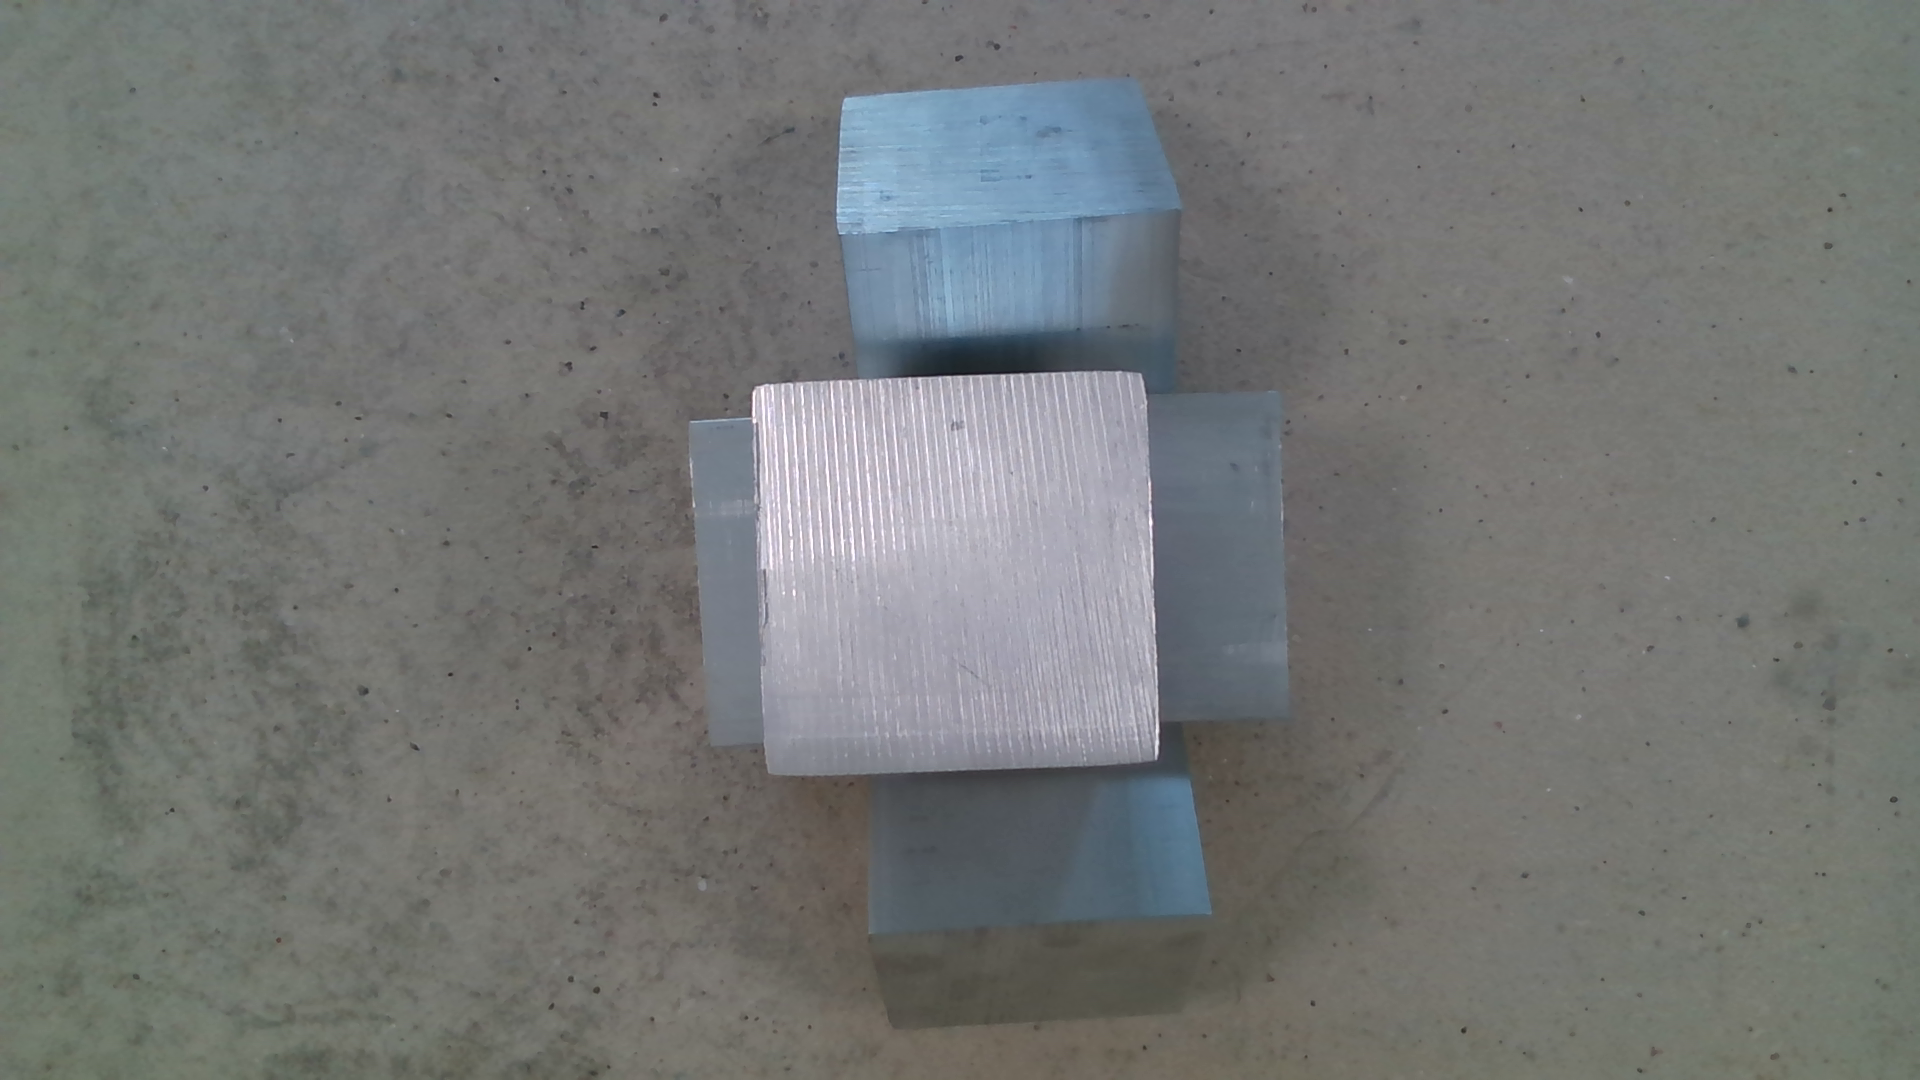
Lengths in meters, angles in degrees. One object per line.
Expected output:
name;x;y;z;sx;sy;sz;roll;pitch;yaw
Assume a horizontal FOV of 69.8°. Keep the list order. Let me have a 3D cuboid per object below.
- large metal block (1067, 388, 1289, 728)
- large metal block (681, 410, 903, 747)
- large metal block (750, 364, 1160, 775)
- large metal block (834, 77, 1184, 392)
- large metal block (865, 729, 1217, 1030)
large metal block;0.052;0.005;0.368;0.050;0.080;0.080;-2;91;0
large metal block;-0.039;0.008;0.370;0.050;0.080;0.080;-4;90;0
large metal block;-0.001;0.006;0.303;0.080;0.050;0.080;-2;90;0
large metal block;0.010;-0.079;0.361;0.080;0.080;0.050;-4;130;0
large metal block;0.019;0.090;0.361;0.080;0.080;0.050;-4;55;0
